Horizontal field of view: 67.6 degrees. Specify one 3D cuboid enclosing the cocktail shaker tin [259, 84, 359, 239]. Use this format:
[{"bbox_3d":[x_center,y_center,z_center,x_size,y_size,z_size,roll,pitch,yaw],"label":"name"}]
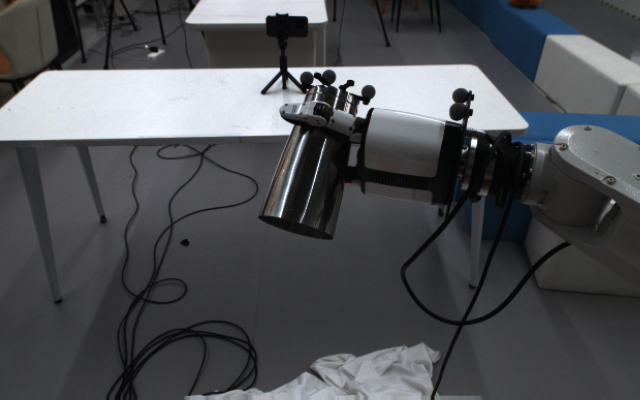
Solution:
[{"bbox_3d":[-0.004,-0.049,0.583,0.093,0.093,0.170,13,77,15],"label":"cocktail shaker tin"}]
